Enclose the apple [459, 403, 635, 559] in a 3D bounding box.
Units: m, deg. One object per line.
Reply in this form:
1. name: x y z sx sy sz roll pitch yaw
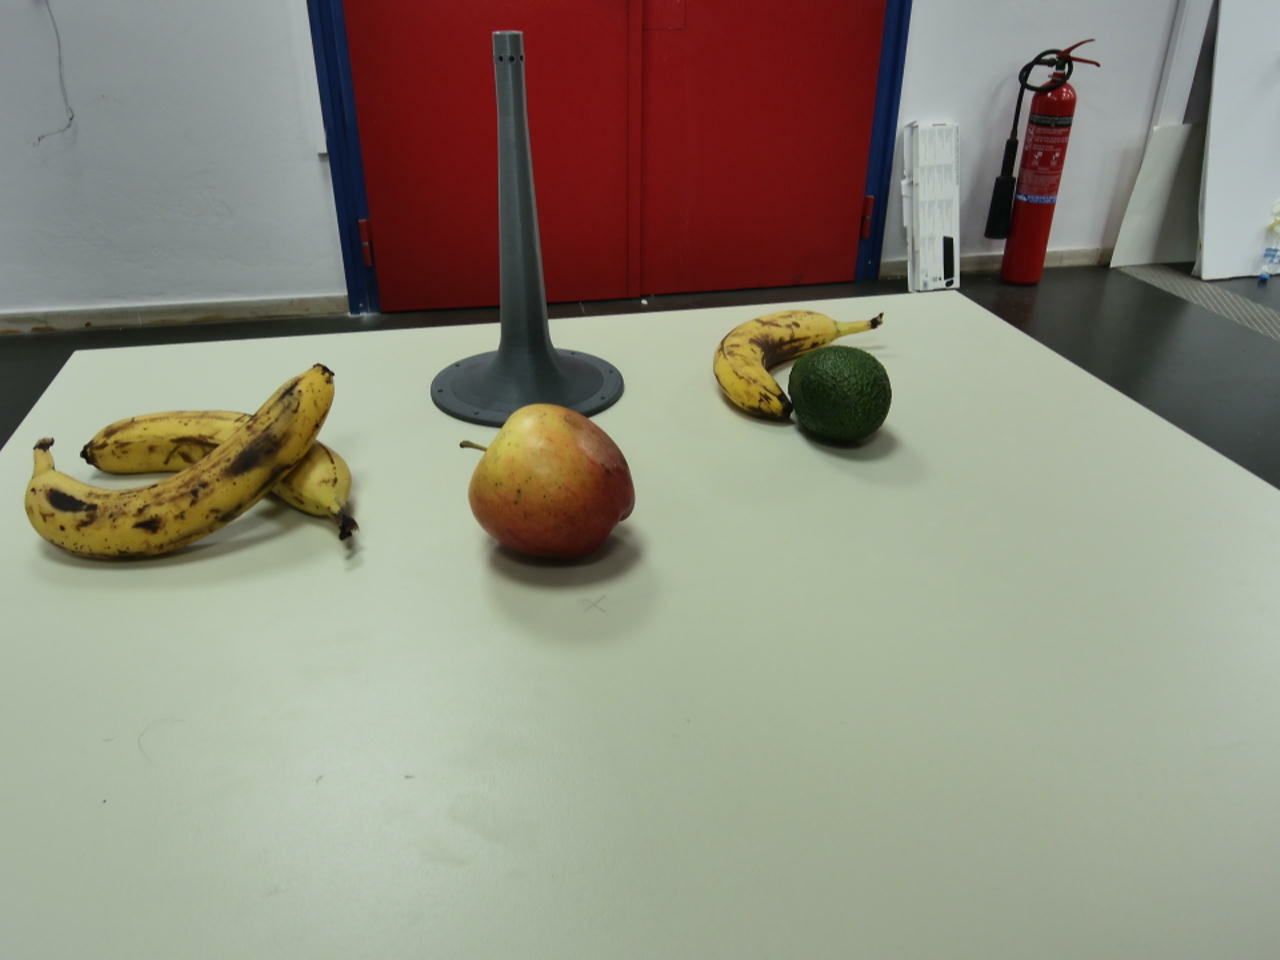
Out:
1. apple: -0.052 0.001 0.557 0.093 0.084 0.086 22 34 36
